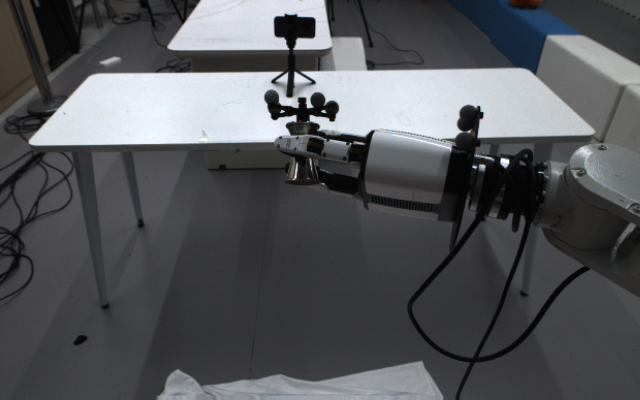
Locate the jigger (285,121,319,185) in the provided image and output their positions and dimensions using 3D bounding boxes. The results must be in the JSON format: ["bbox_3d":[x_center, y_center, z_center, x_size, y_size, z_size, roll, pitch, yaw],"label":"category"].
[{"bbox_3d":[-0.021,-0.053,0.563,0.043,0.071,0.043,1,-5,0],"label":"jigger"}]
